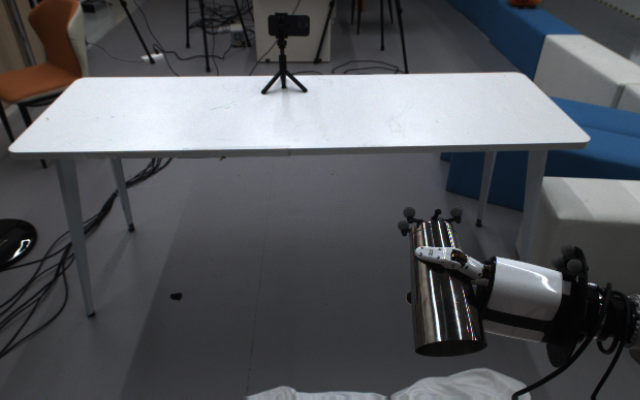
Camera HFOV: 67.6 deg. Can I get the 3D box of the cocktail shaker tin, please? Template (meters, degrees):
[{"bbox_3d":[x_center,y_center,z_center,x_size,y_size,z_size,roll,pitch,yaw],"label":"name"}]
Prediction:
[{"bbox_3d":[0.165,0.116,0.659,0.093,0.093,0.170,0,59,-3],"label":"cocktail shaker tin"}]
